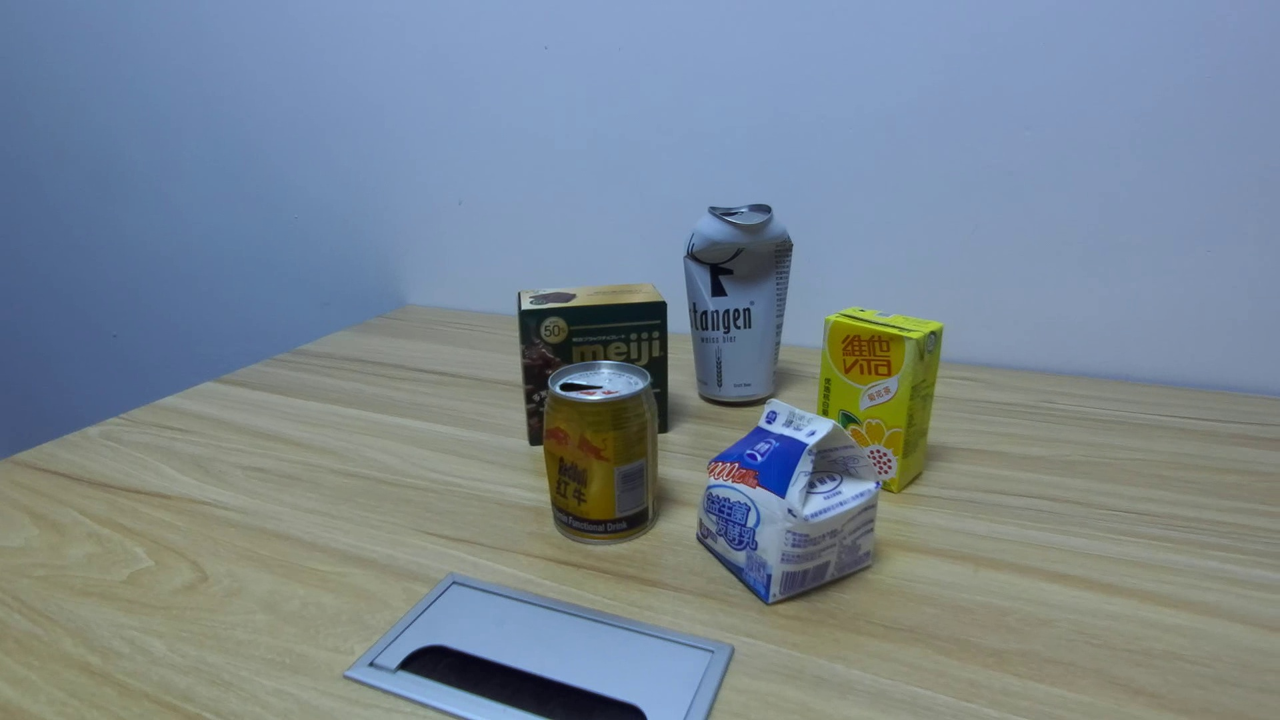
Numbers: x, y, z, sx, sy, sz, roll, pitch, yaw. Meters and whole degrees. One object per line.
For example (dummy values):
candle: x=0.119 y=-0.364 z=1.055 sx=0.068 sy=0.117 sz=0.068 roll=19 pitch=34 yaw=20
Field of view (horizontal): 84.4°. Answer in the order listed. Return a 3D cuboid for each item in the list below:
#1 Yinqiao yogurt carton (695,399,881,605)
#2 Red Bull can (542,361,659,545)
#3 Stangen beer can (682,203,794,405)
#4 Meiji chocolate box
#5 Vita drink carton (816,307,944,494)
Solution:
Yinqiao yogurt carton: x=0.082 y=0.066 z=0.385 sx=0.077 sy=0.093 sz=0.083 roll=-11 pitch=22 yaw=-25
Red Bull can: x=-0.023 y=0.054 z=0.427 sx=0.069 sy=0.092 sz=0.069 roll=-1 pitch=20 yaw=0
Stangen beer can: x=0.081 y=-0.045 z=0.589 sx=0.065 sy=0.162 sz=0.077 roll=15 pitch=26 yaw=39
Meiji chocolate box: x=-0.035 y=0.003 z=0.543 sx=0.110 sy=0.109 sz=0.056 roll=-4 pitch=19 yaw=-10
Vita drink carton: x=0.159 y=0.025 z=0.474 sx=0.066 sy=0.109 sz=0.044 roll=18 pitch=27 yaw=41
